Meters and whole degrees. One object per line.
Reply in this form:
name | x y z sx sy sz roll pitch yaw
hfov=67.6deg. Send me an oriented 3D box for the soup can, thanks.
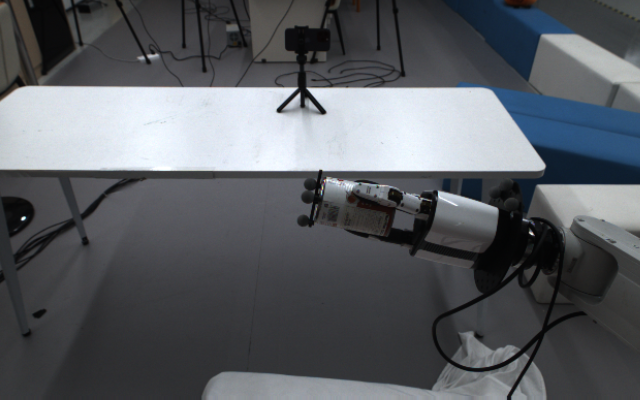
soup can | 0.050 0.009 0.666 0.101 0.067 0.067 11 35 -2
